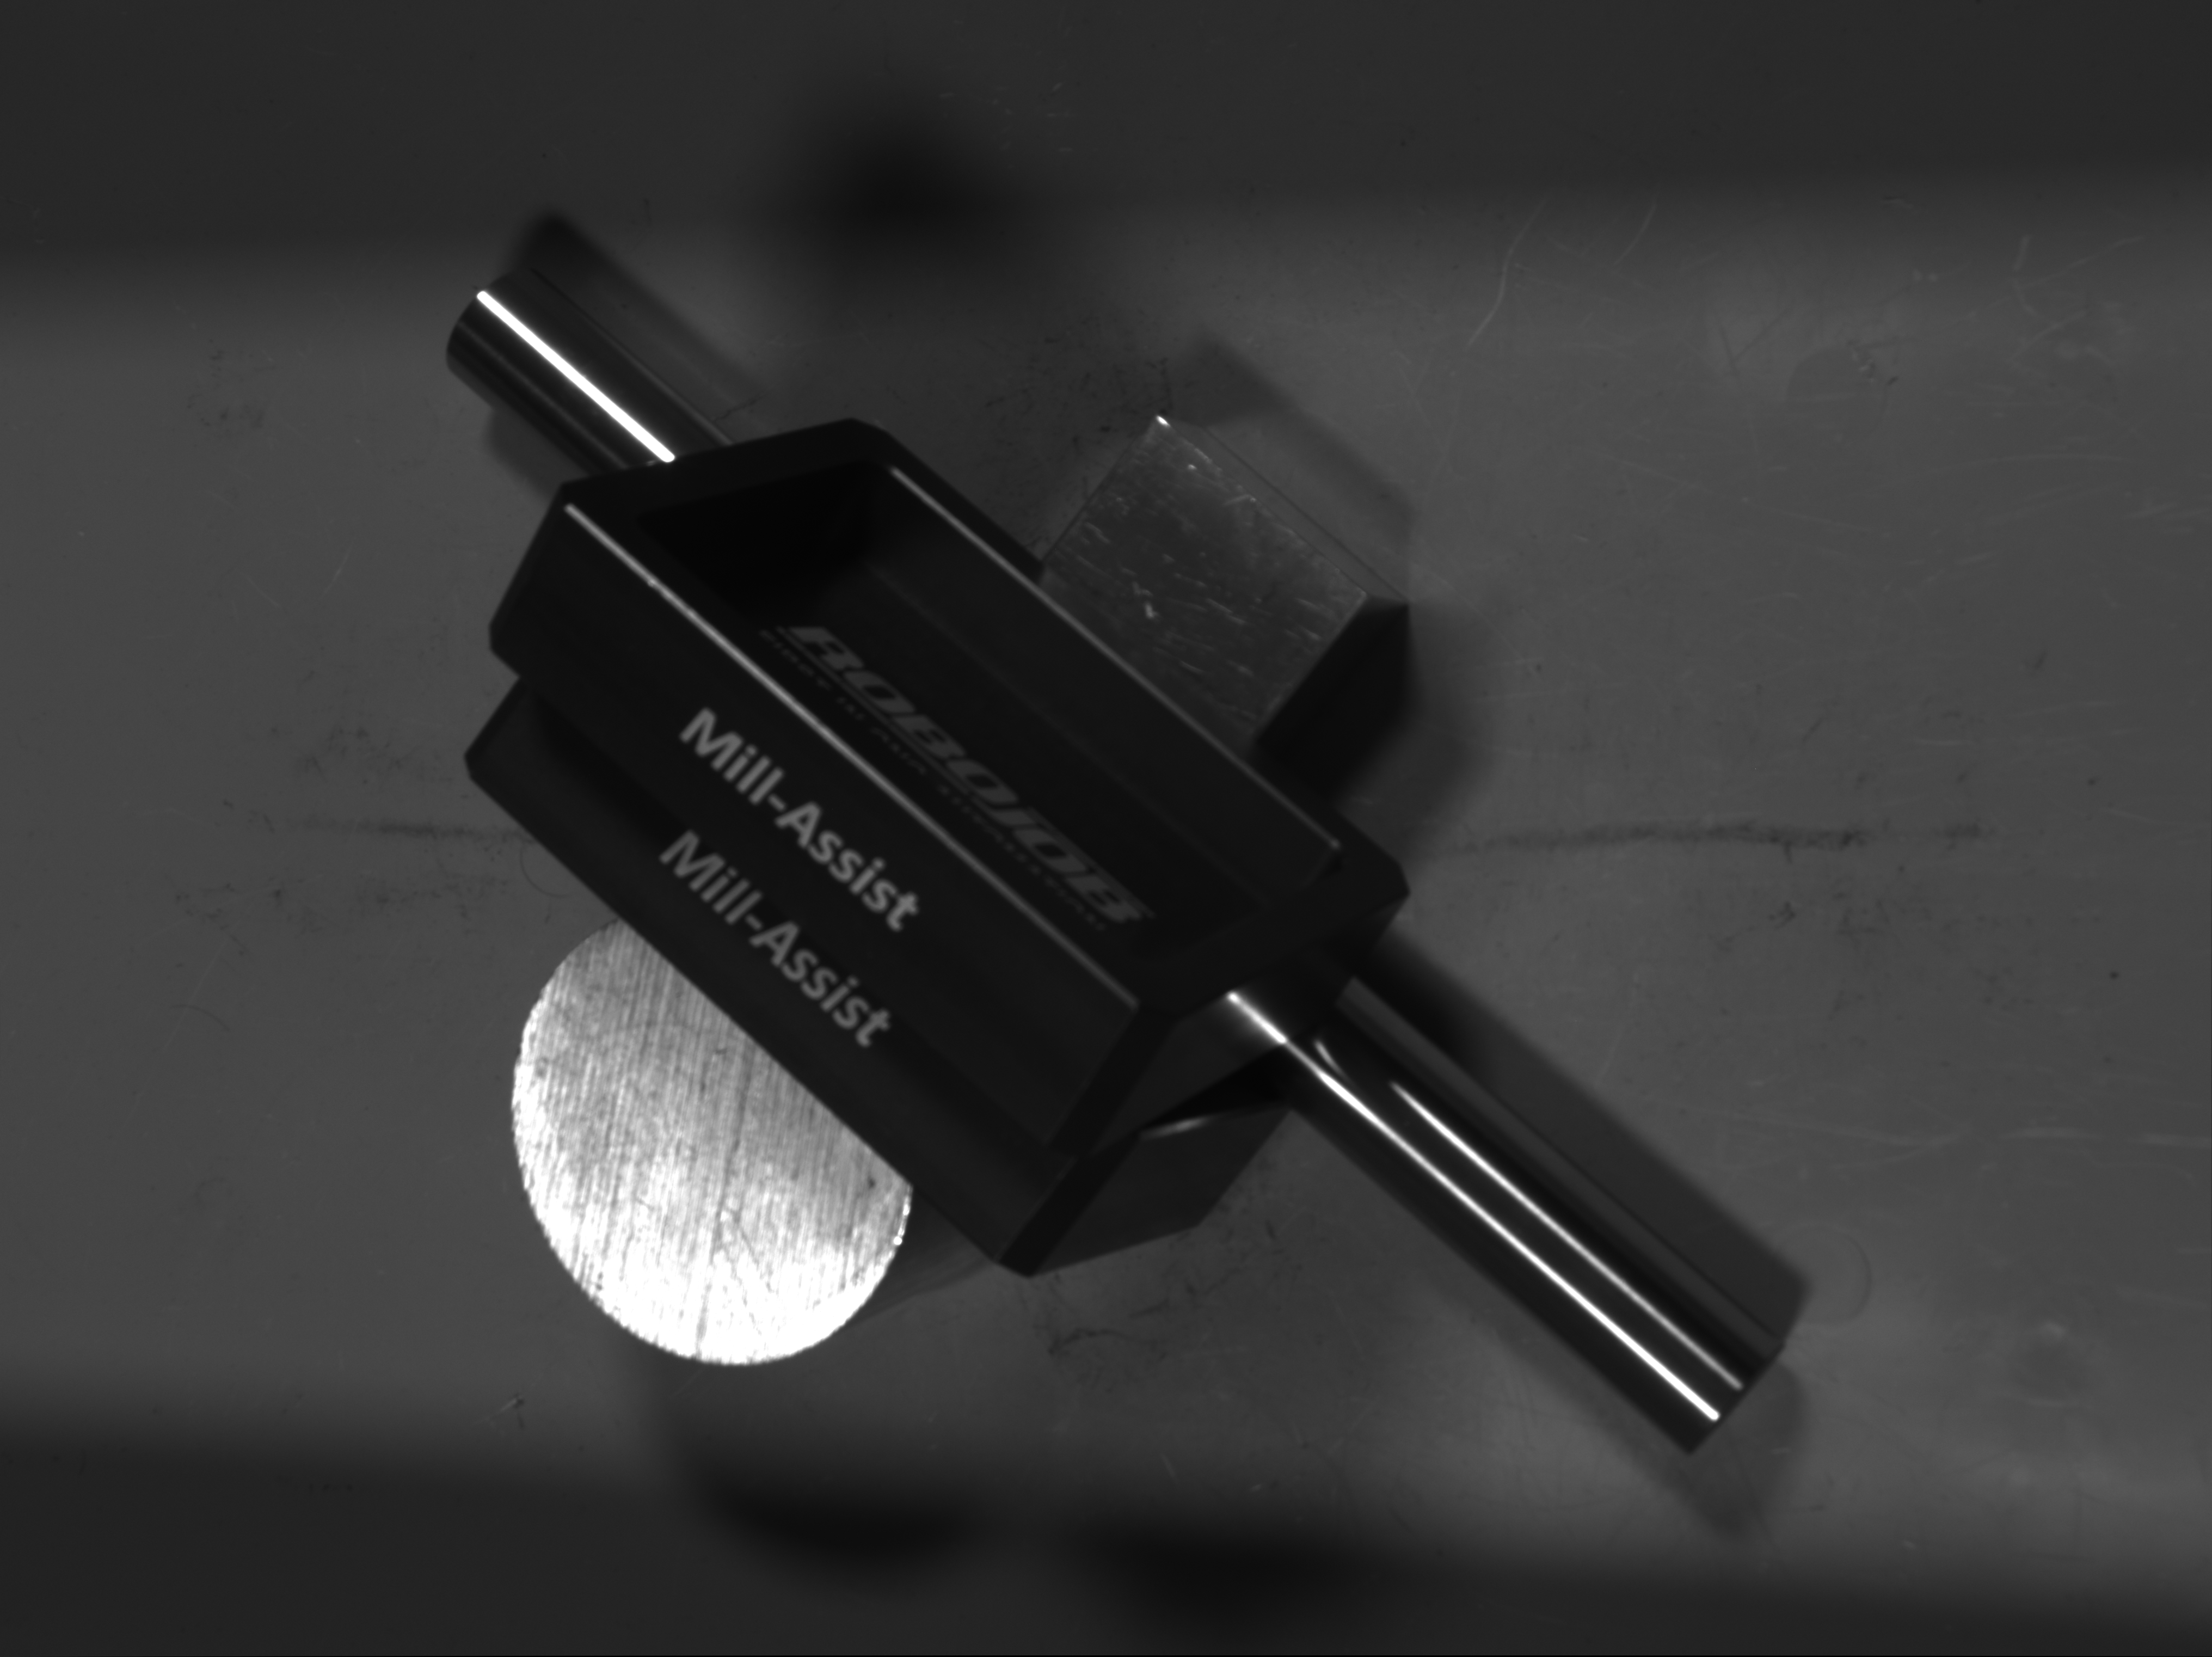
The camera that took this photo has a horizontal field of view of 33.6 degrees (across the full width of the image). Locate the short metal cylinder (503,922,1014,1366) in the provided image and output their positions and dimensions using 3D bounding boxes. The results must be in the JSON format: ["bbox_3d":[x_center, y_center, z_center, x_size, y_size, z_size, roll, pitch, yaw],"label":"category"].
[{"bbox_3d":[-0.058,0.049,0.645,0.080,0.050,0.080,3,98,25],"label":"short metal cylinder"}]

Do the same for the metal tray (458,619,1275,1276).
[{"bbox_3d":[-0.038,0.018,0.622,0.130,0.090,0.030,41,103,15],"label":"metal tray"}]

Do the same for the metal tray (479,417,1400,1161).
[{"bbox_3d":[-0.026,-0.011,0.591,0.130,0.090,0.030,41,120,15],"label":"metal tray"}]

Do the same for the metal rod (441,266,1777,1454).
[{"bbox_3d":[-0.006,0.000,0.647,0.300,0.025,0.025,41,103,15],"label":"metal rod"}]

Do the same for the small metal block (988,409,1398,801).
[{"bbox_3d":[0.014,-0.037,0.638,0.050,0.025,0.050,42,103,15],"label":"small metal block"}]
